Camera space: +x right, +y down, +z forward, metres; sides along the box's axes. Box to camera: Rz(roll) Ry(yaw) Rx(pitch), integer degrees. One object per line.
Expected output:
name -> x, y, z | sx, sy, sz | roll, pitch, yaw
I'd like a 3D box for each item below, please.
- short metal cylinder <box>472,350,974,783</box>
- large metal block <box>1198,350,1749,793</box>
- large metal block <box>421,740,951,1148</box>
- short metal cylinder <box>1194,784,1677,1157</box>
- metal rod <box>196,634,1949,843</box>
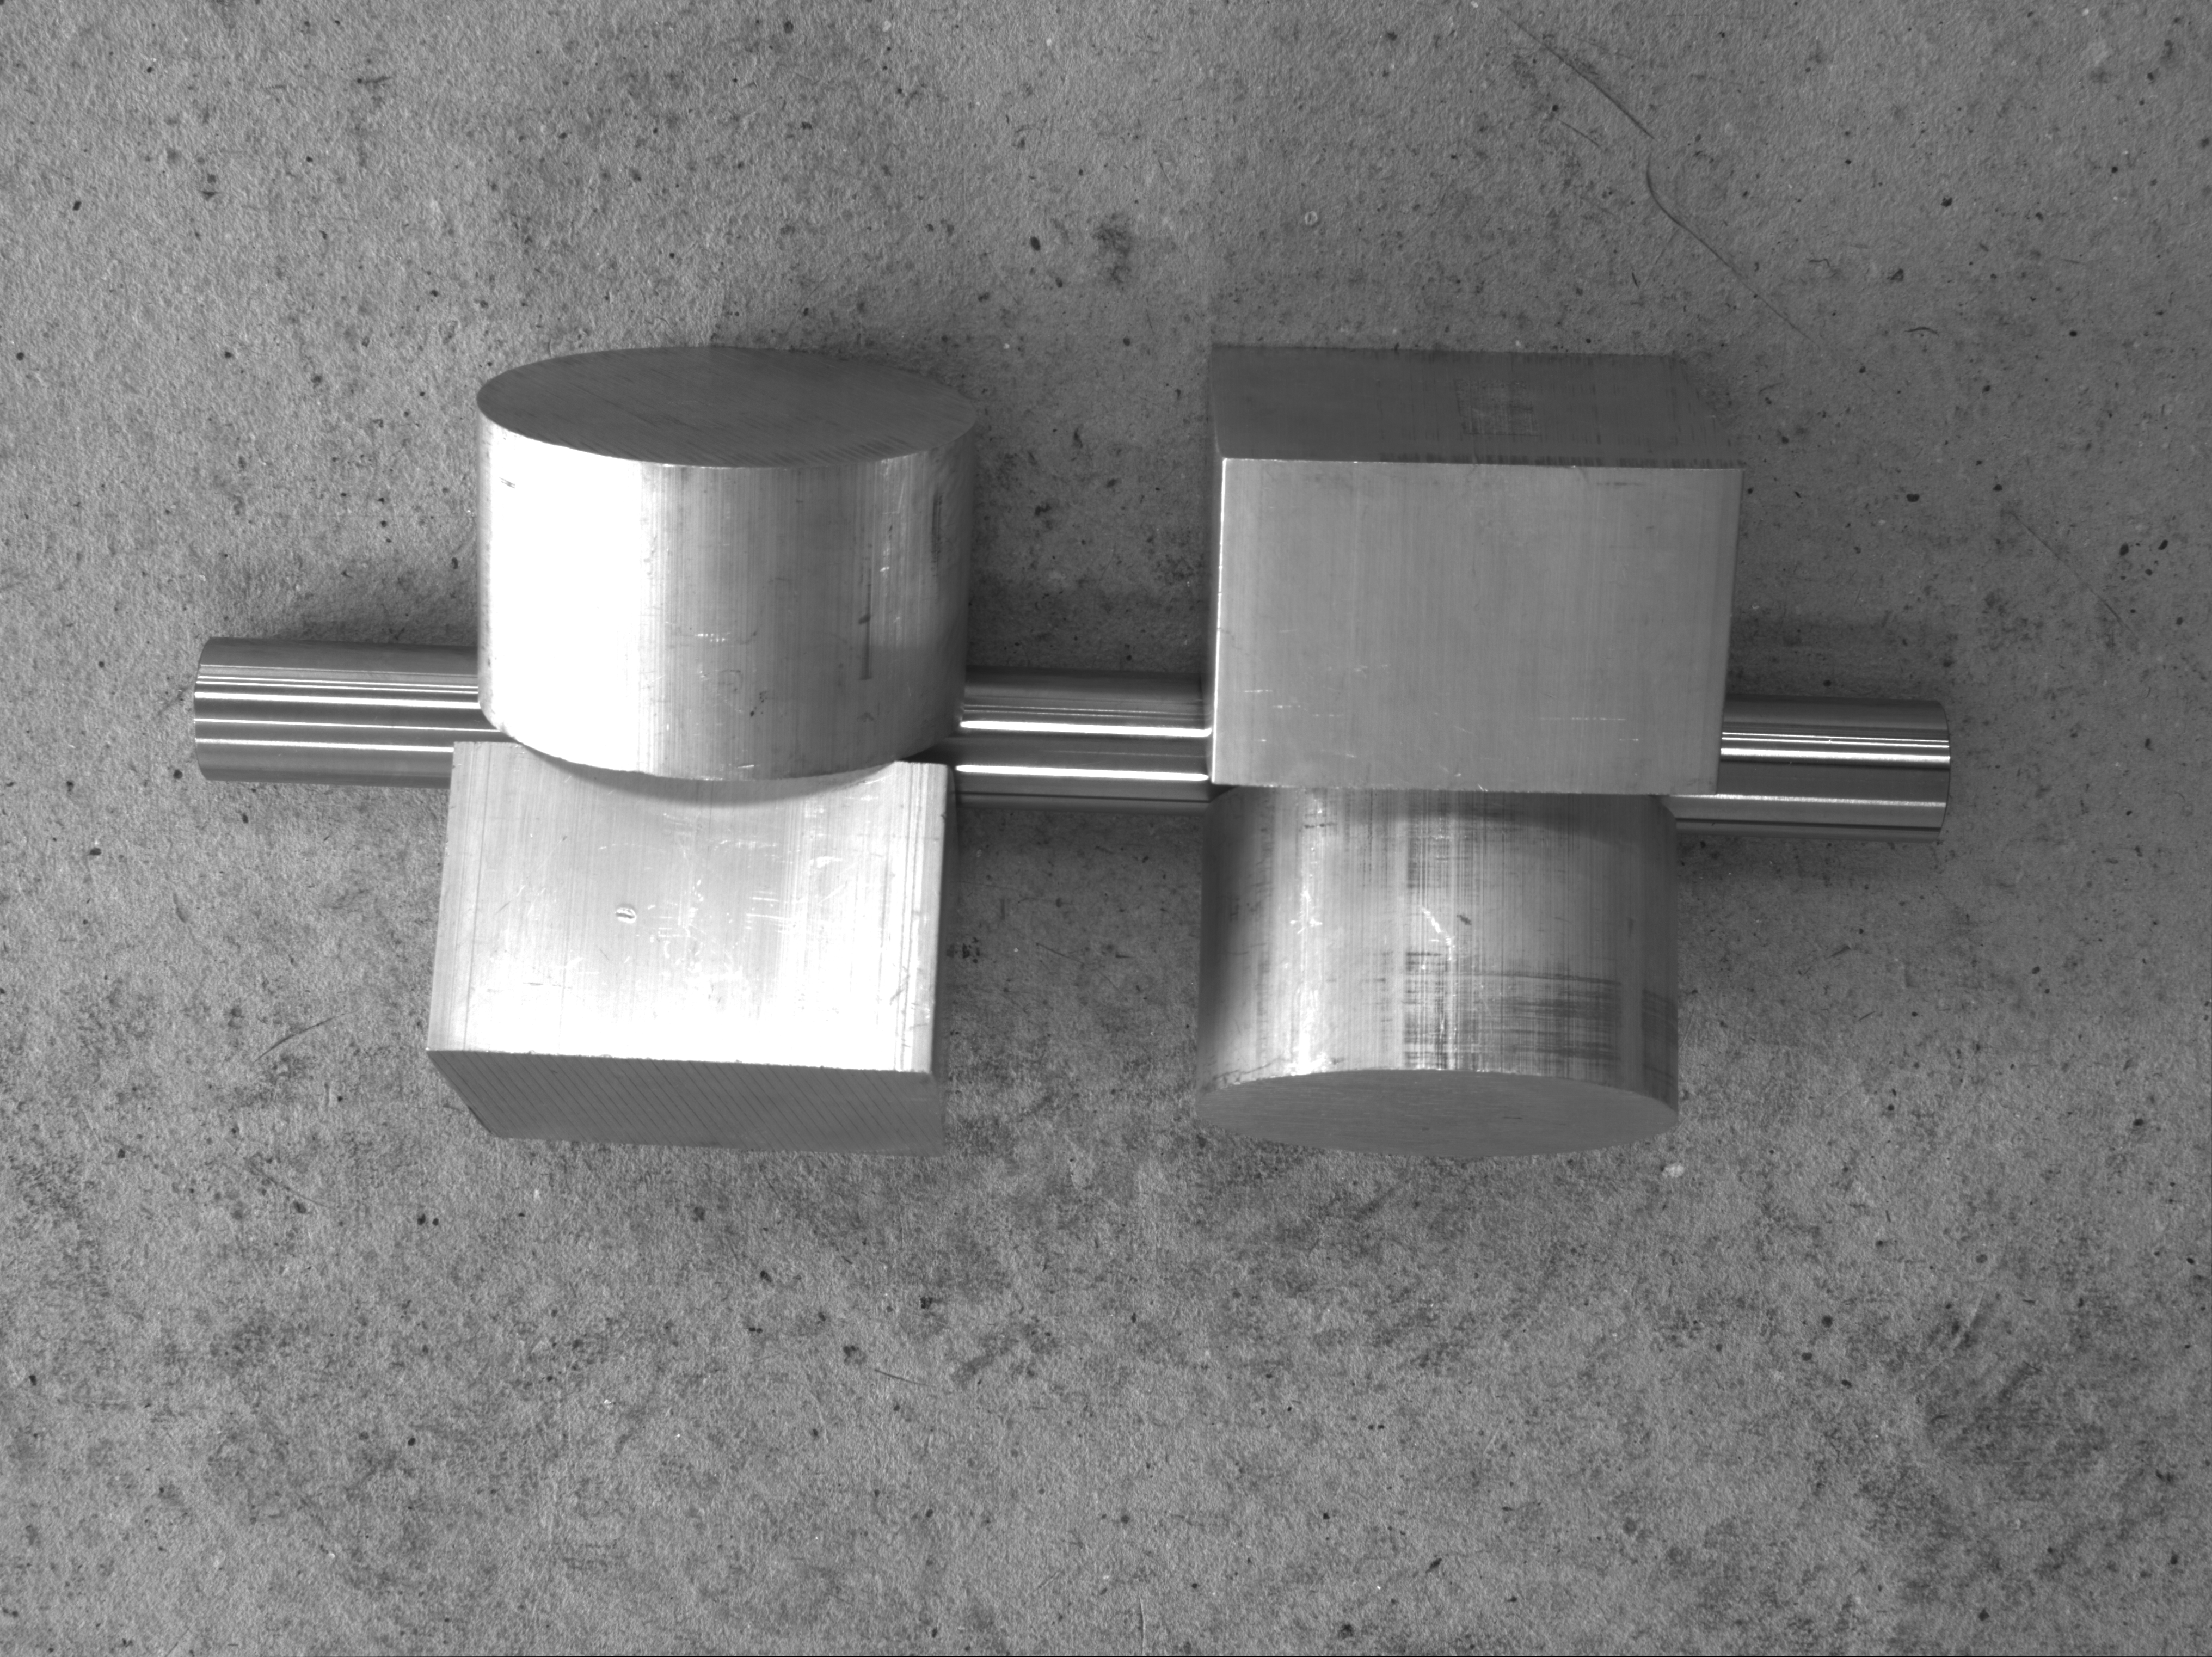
short metal cylinder -> -0.063, -0.044, 0.598 | 0.080, 0.080, 0.050 | 3, 110, -1
large metal block -> 0.056, -0.044, 0.599 | 0.080, 0.080, 0.050 | 1, 110, 0
large metal block -> -0.067, 0.022, 0.616 | 0.080, 0.080, 0.050 | 2, 76, -1
short metal cylinder -> 0.055, 0.024, 0.617 | 0.080, 0.080, 0.050 | 2, 75, -1
metal rod -> -0.005, -0.016, 0.640 | 0.300, 0.025, 0.025 | 2, 110, -1
